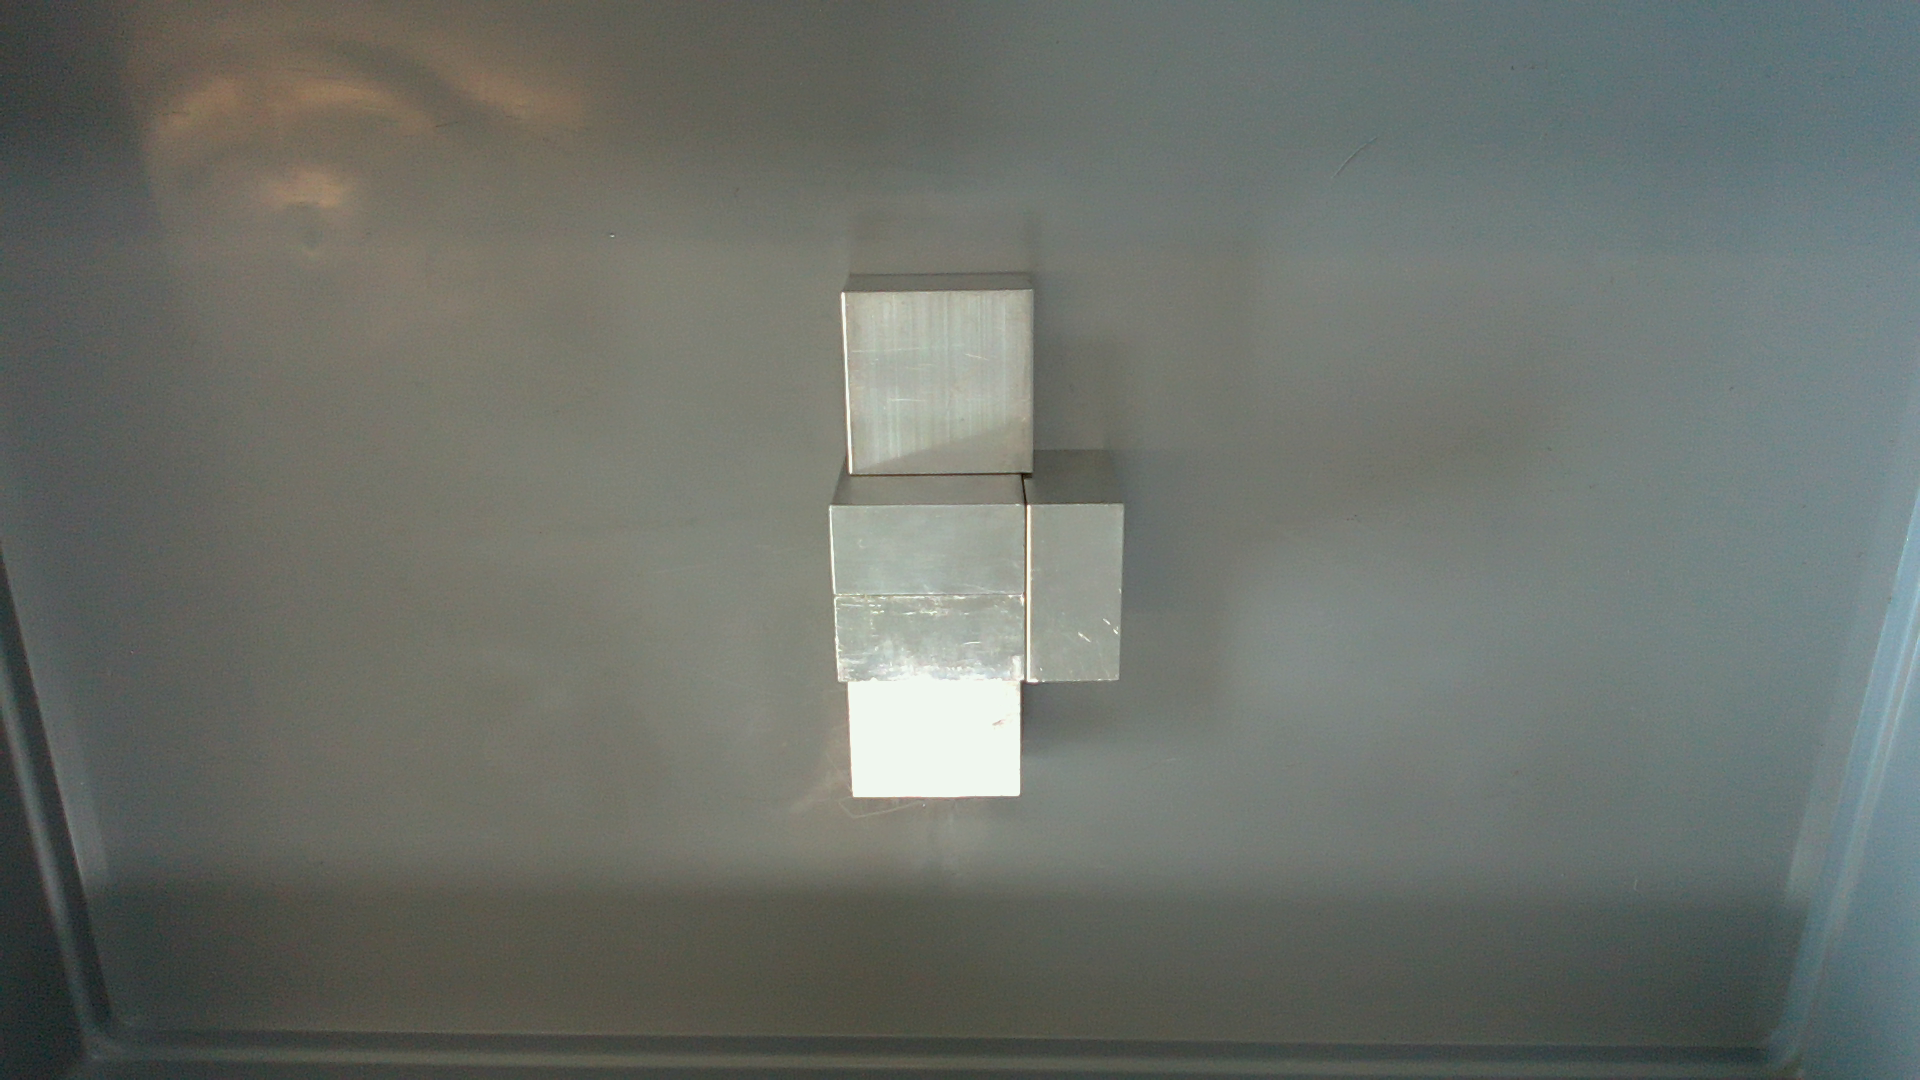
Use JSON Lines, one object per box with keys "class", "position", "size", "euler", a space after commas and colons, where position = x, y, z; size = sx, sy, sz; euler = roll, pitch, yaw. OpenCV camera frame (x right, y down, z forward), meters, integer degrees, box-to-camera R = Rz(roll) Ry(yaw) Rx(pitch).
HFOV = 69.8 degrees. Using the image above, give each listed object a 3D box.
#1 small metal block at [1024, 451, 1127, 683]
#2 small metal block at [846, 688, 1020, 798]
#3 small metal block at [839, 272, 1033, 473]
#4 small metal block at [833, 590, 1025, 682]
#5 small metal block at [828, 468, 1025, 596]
{"class": "small metal block", "position": [0.030, 0.006, 0.382], "size": [0.025, 0.050, 0.050], "euler": [0, 110, 0]}
{"class": "small metal block", "position": [-0.008, 0.049, 0.410], "size": [0.050, 0.025, 0.050], "euler": [0, 110, 0]}
{"class": "small metal block", "position": [-0.006, -0.046, 0.375], "size": [0.050, 0.025, 0.050], "euler": [0, 110, 0]}
{"class": "small metal block", "position": [-0.008, 0.017, 0.386], "size": [0.050, 0.050, 0.025], "euler": [0, 110, 0]}
{"class": "small metal block", "position": [-0.008, -0.006, 0.377], "size": [0.050, 0.050, 0.025], "euler": [0, 110, 0]}
